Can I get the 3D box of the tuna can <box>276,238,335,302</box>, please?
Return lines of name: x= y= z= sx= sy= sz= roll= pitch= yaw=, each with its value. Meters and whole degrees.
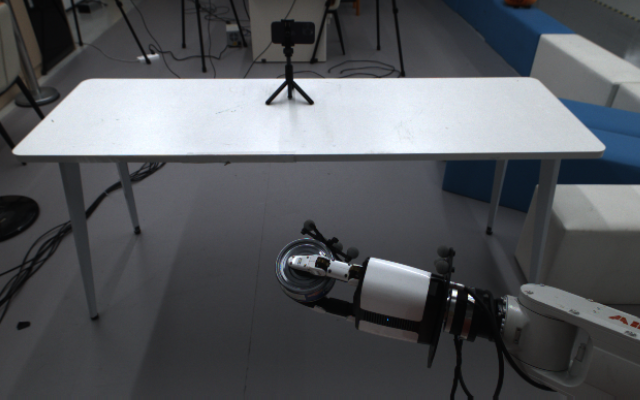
tuna can: x=-0.016 y=0.104 z=0.678 sx=0.085 sy=0.034 sz=0.085 roll=-4 pitch=57 yaw=6
